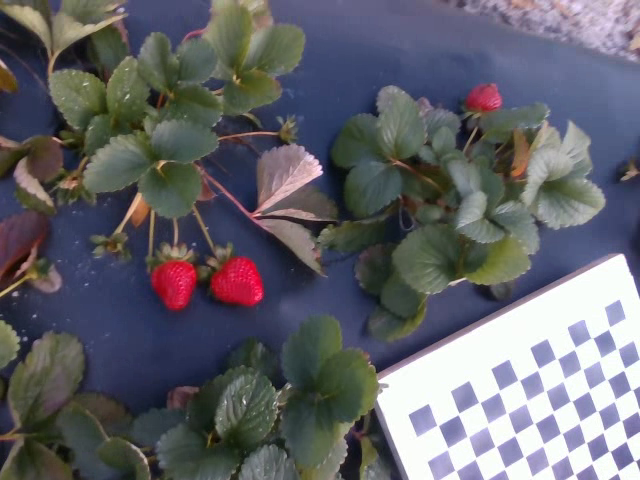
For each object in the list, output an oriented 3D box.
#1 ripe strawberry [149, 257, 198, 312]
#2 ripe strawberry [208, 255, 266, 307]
[{"bbox_3d":[-0.144,0.045,0.577,0.048,0.056,0.041,-8,-25,-13],"label":"ripe strawberry"},{"bbox_3d":[-0.082,0.044,0.585,0.064,0.057,0.051,40,-14,26],"label":"ripe strawberry"}]
